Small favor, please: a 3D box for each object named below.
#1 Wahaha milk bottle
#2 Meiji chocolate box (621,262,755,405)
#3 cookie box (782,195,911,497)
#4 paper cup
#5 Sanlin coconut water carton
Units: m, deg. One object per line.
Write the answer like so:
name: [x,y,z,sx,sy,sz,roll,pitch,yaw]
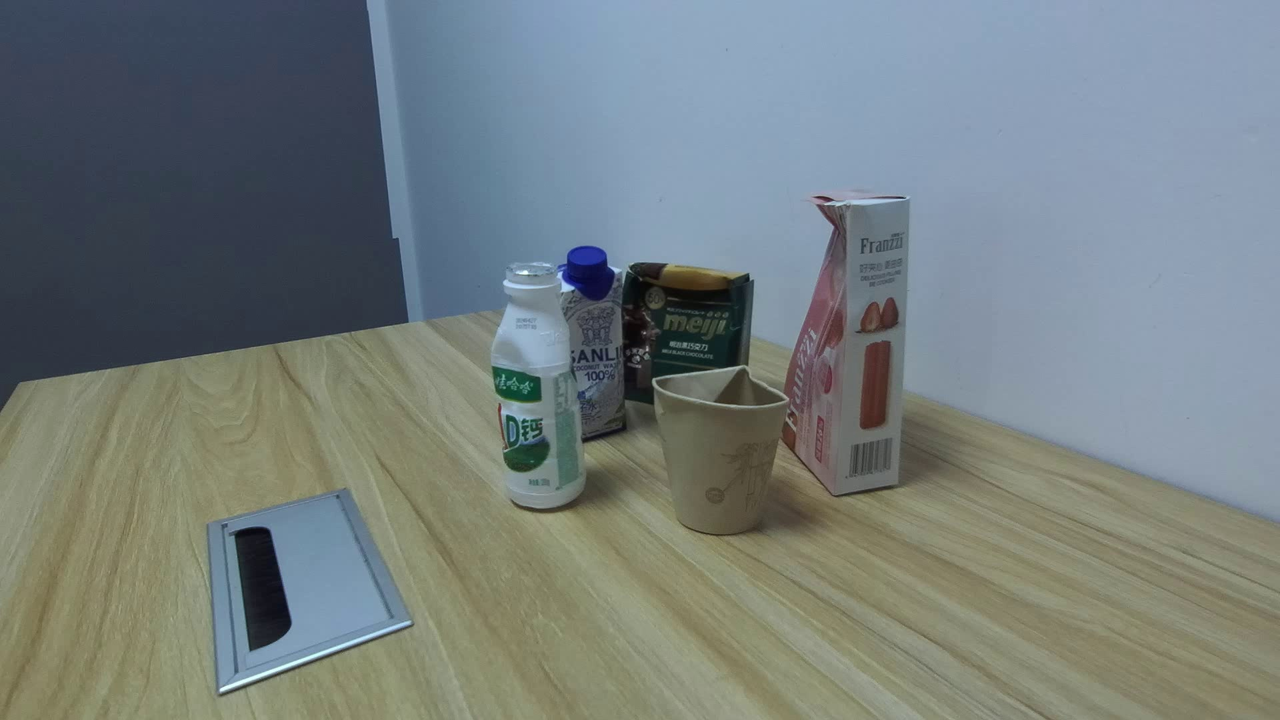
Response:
Wahaha milk bottle: [-0.060,0.016,0.434,0.055,0.149,0.055,0,18,0]
Meiji chocolate box: [0.037,-0.019,0.604,0.113,0.110,0.058,7,13,27]
cookie box: [0.133,-0.017,0.466,0.055,0.184,0.118,-2,18,-3]
paper cup: [0.045,0.053,0.413,0.066,0.084,0.071,-6,19,-15]
Sanlin coconut water carton: [-0.046,-0.014,0.531,0.061,0.144,0.069,-12,22,-27]
